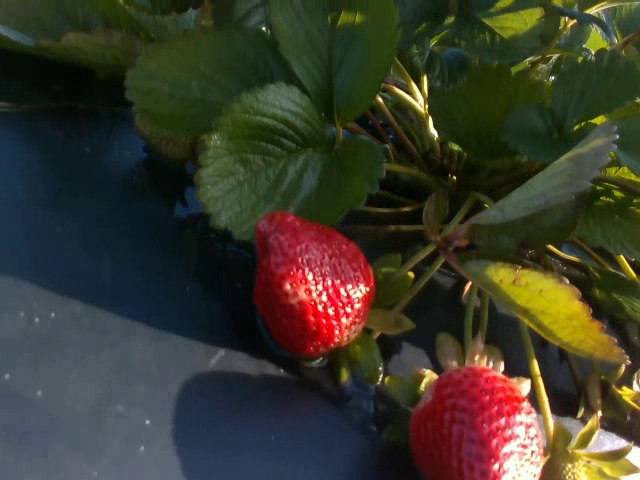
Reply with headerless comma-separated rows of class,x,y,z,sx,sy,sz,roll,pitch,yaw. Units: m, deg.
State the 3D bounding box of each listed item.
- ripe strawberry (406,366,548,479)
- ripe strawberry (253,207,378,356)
ripe strawberry,0.045,0.055,0.160,0.038,0.043,0.053,-42,9,12
ripe strawberry,-0.003,0.013,0.190,0.039,0.048,0.054,-12,-34,33
